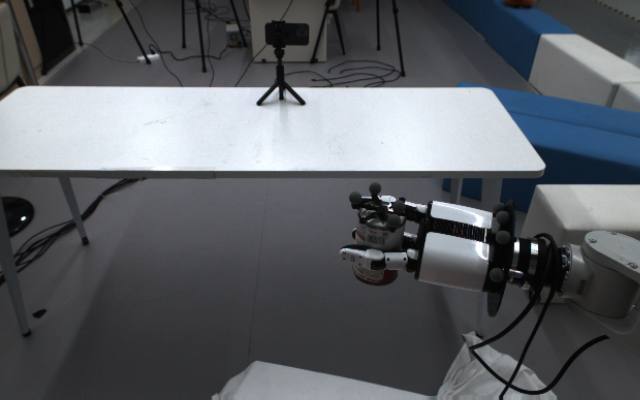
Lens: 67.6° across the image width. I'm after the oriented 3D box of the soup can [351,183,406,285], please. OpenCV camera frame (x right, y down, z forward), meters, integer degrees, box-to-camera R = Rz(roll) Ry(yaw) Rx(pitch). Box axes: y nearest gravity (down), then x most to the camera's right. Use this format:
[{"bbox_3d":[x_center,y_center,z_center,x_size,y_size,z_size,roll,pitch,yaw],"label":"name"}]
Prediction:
[{"bbox_3d":[0.084,0.061,0.683,0.067,0.101,0.067,2,32,-1],"label":"soup can"}]
